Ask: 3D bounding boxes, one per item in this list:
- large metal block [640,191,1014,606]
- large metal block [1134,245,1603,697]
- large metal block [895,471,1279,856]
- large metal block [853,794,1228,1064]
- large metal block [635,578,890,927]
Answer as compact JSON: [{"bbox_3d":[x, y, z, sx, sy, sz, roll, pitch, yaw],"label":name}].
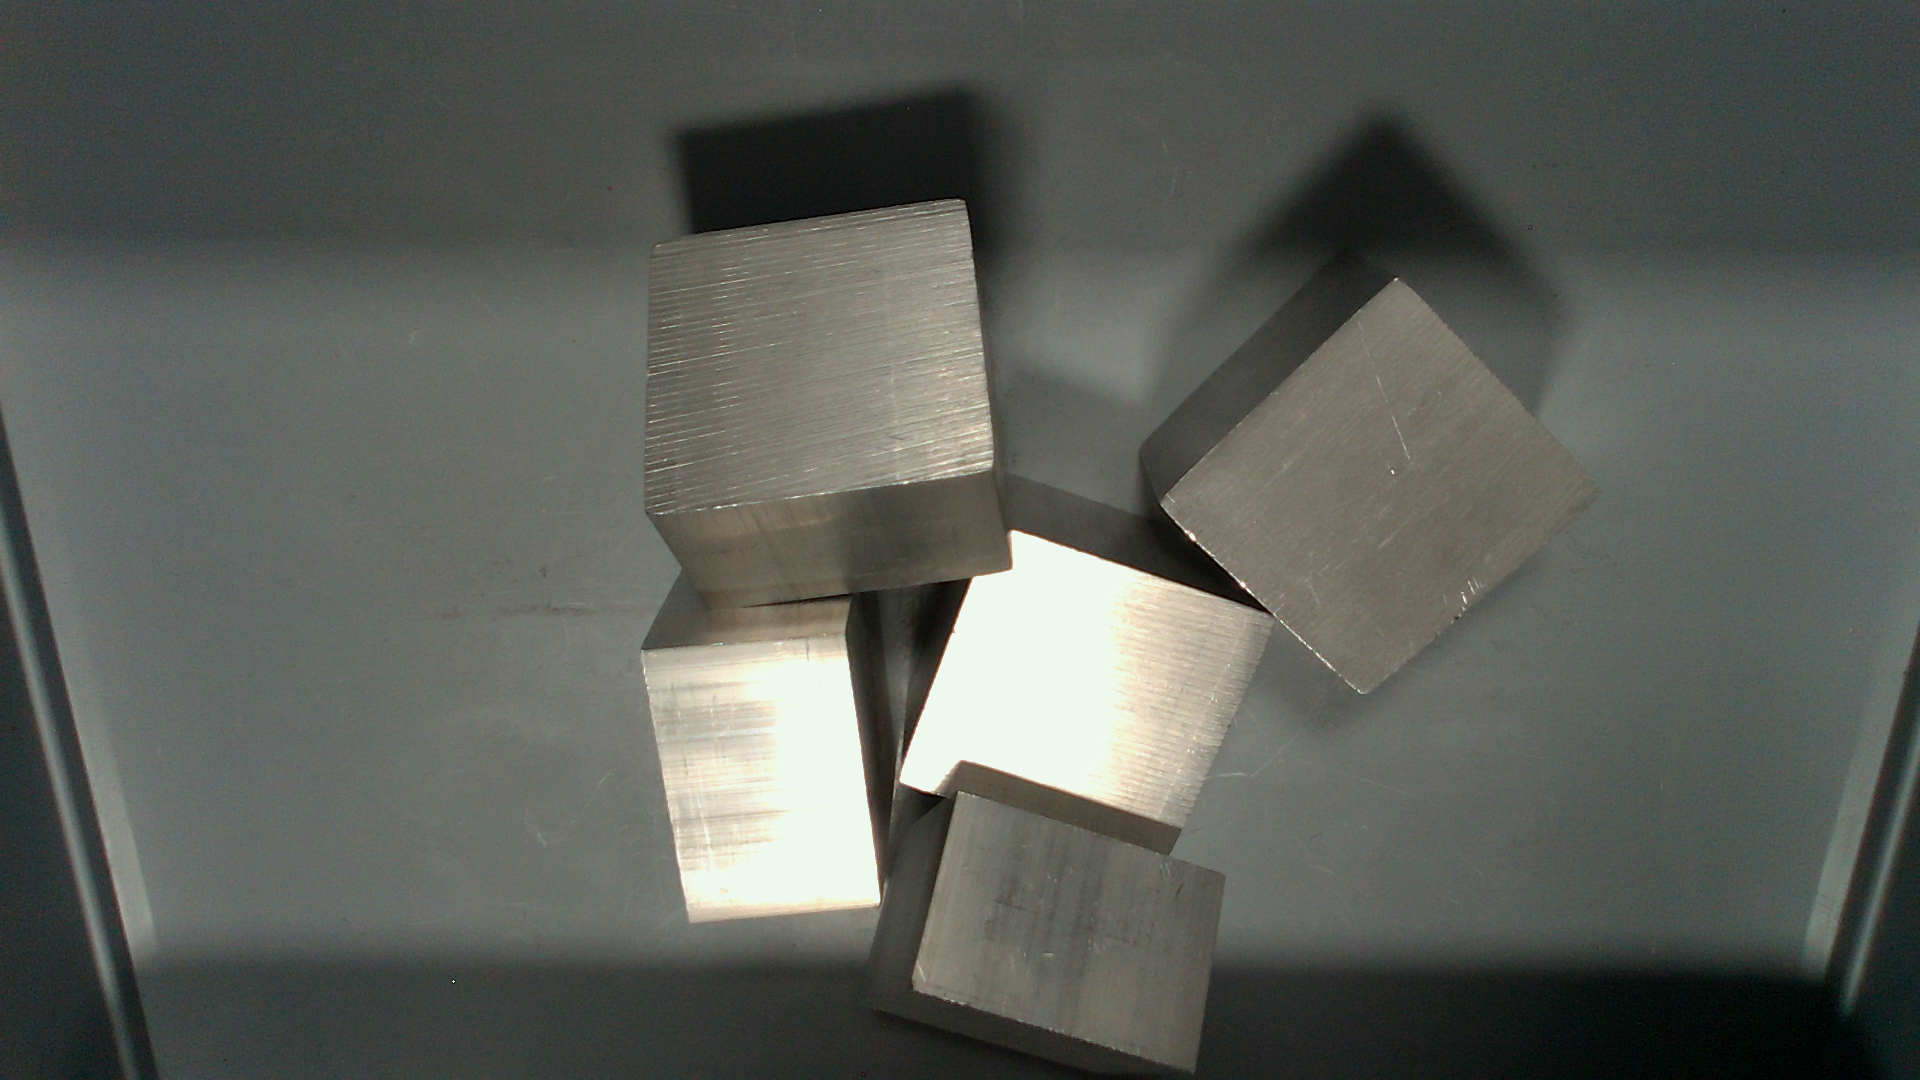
[{"bbox_3d":[-0.032,-0.035,0.344,0.080,0.080,0.050,-7,152,3],"label":"large metal block"},{"bbox_3d":[0.107,-0.020,0.373,0.080,0.050,0.080,42,105,-14],"label":"large metal block"},{"bbox_3d":[0.033,0.034,0.393,0.080,0.050,0.080,18,109,-7],"label":"large metal block"},{"bbox_3d":[0.021,0.116,0.400,0.080,0.080,0.050,18,67,-8],"label":"large metal block"},{"bbox_3d":[-0.049,0.047,0.381,0.050,0.080,0.080,-5,110,2],"label":"large metal block"}]
